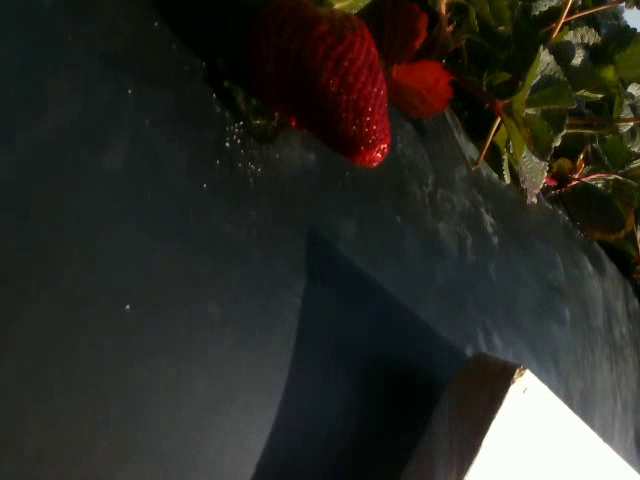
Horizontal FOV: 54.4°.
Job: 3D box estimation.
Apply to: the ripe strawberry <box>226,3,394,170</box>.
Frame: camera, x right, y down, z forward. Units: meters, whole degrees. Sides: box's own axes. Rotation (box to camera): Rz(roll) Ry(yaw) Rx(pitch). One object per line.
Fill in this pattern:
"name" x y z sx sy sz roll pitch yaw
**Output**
"ripe strawberry" 0.003 -0.039 0.158 0.041 0.056 0.040 -20 -22 -31
